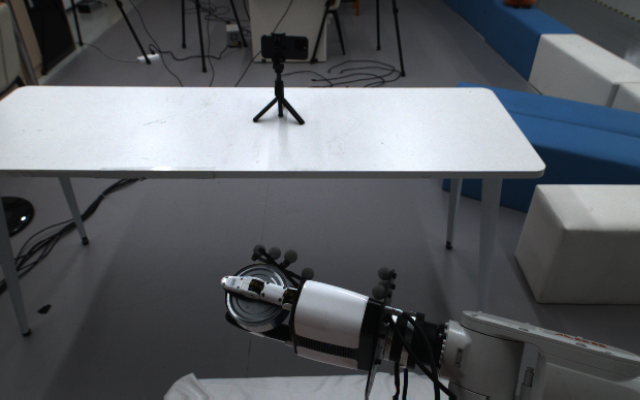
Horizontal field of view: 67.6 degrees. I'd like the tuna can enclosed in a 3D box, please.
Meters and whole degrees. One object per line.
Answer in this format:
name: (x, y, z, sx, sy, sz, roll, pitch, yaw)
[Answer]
tuna can: (-0.078, 0.127, 0.638, 0.085, 0.034, 0.085, -4, 56, 6)
